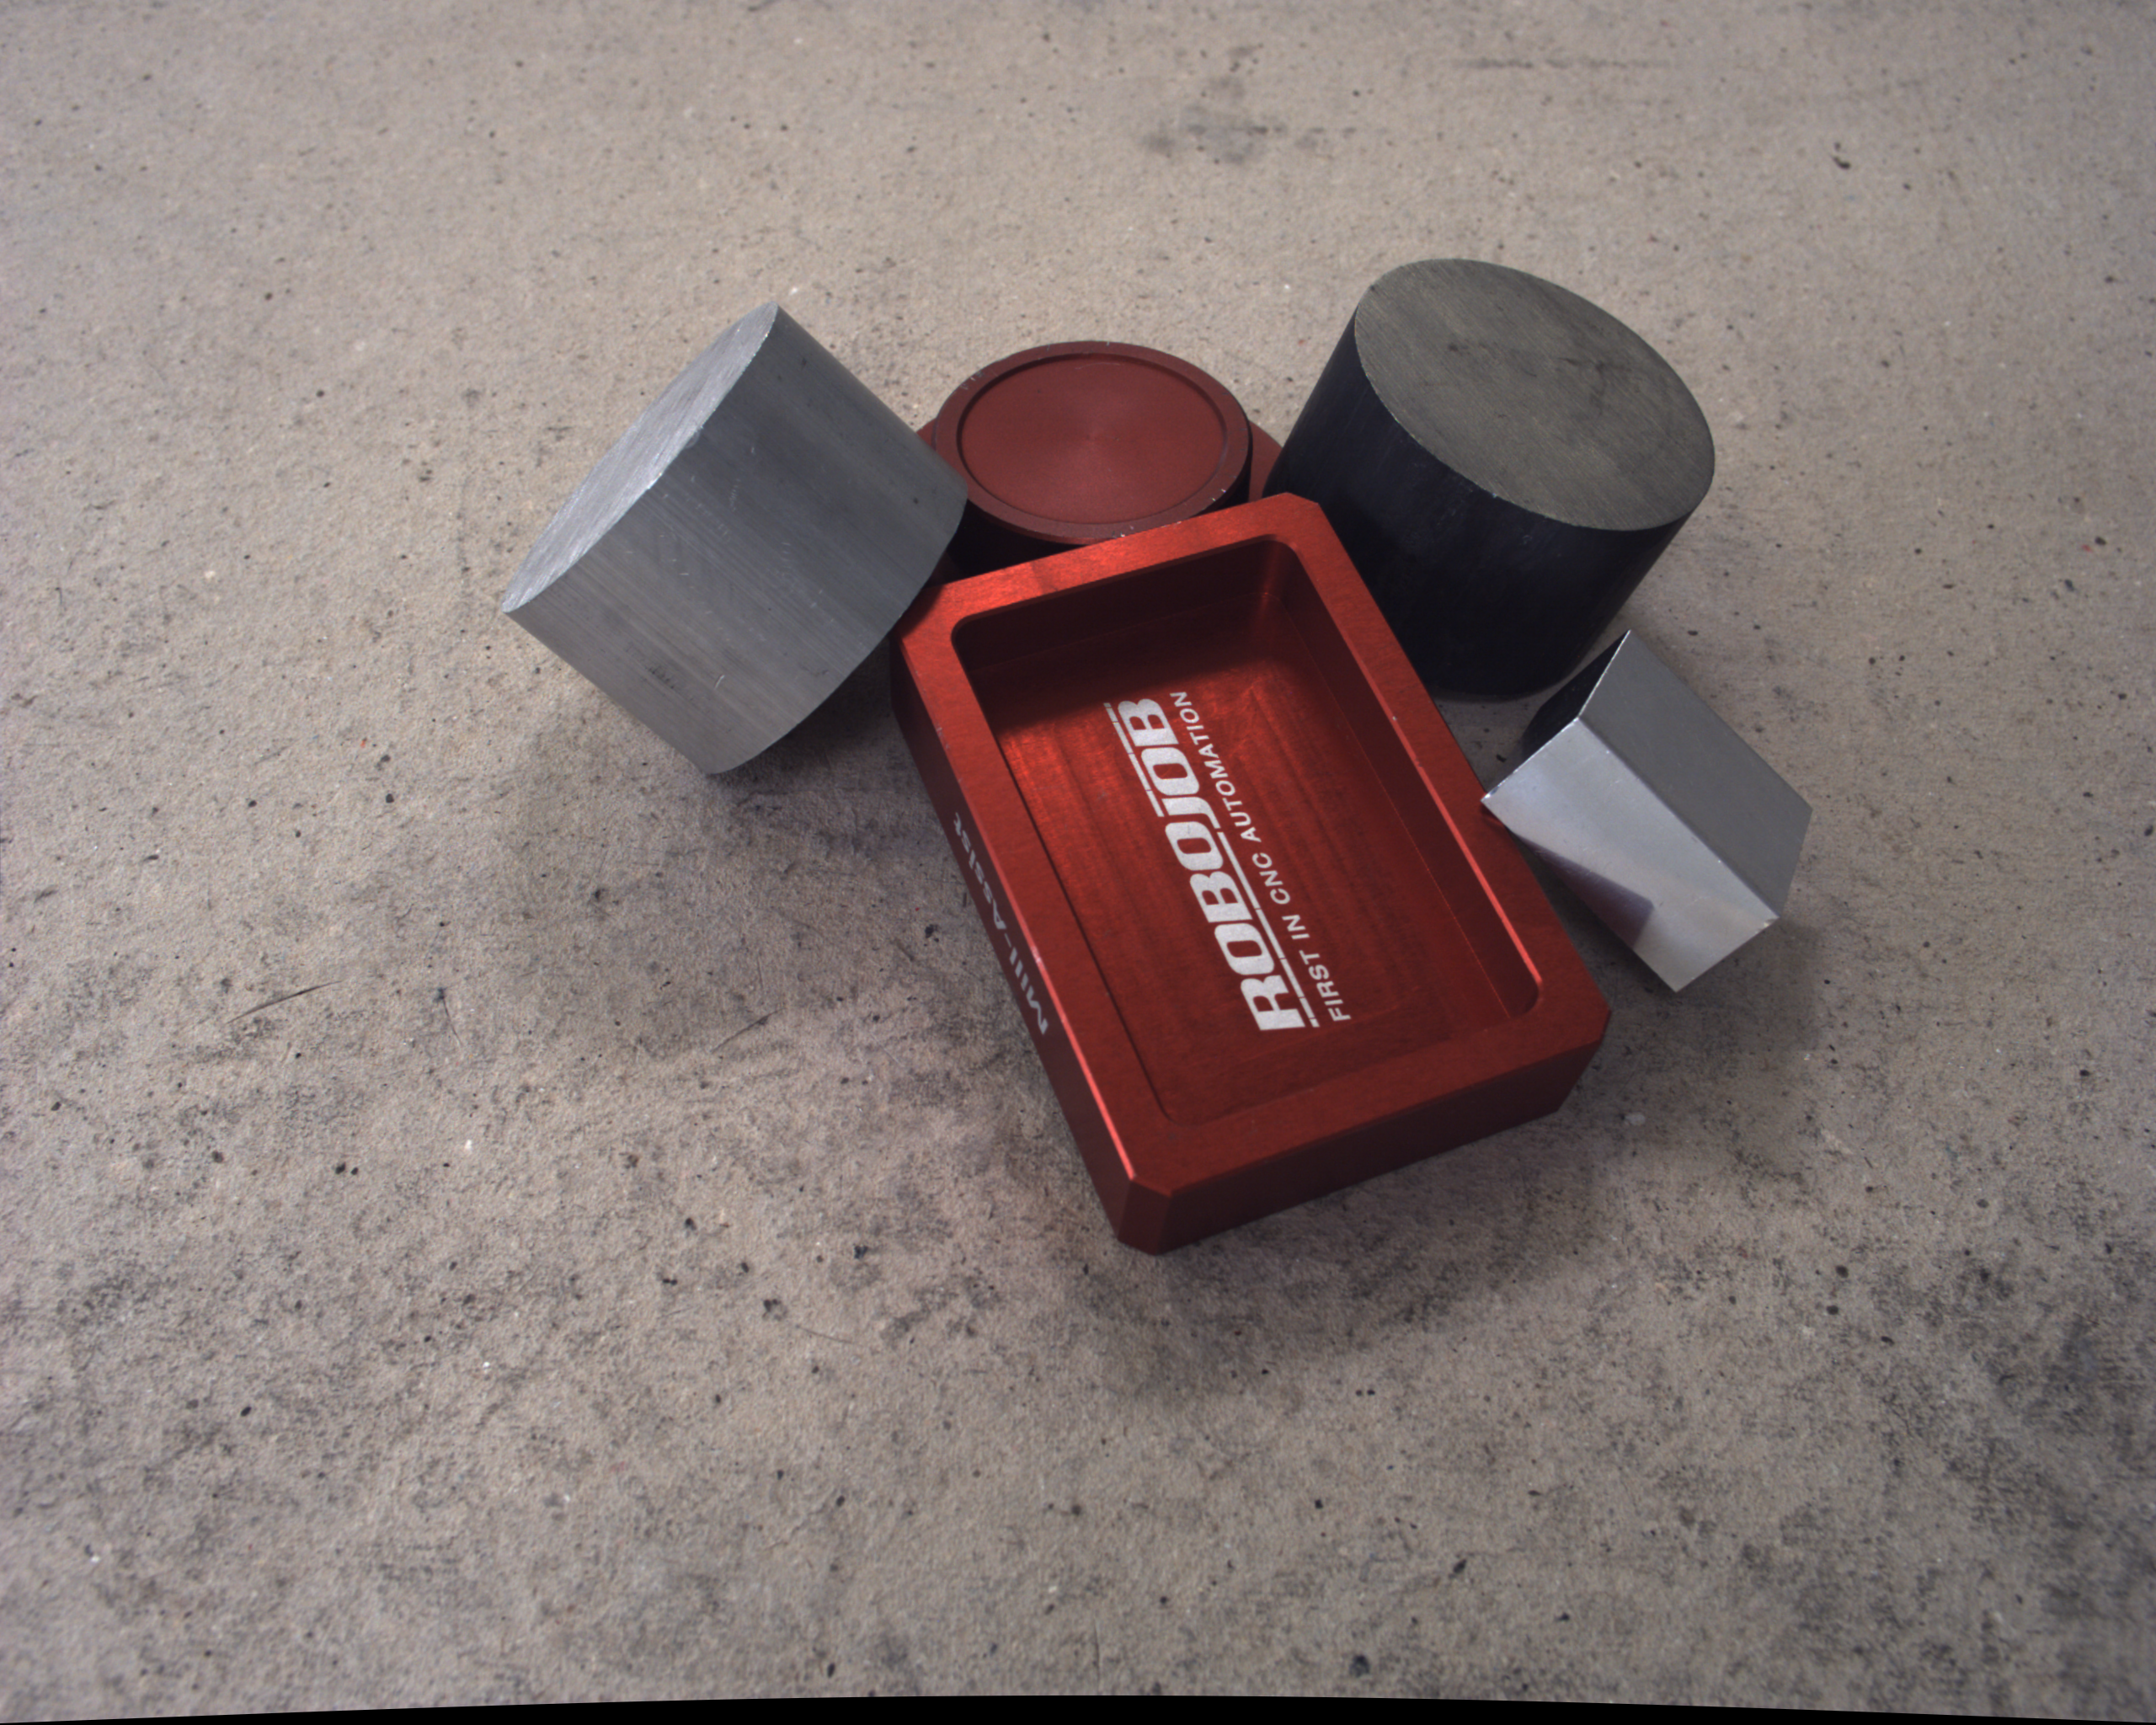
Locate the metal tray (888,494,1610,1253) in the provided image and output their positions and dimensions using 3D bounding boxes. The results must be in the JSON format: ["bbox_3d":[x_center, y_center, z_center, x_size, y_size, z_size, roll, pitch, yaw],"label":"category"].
[{"bbox_3d":[0.027,-0.003,0.390,0.091,0.030,0.130,-17,62,-14],"label":"metal tray"}]

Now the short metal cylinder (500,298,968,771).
[{"bbox_3d":[-0.068,-0.065,0.414,0.050,0.080,0.080,41,48,-24],"label":"short metal cylinder"}]

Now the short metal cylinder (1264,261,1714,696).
[{"bbox_3d":[0.086,-0.082,0.445,0.081,0.050,0.080,11,50,-14],"label":"short metal cylinder"}]

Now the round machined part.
[{"bbox_3d":[0.003,-0.078,0.460,0.099,0.042,0.098,0,50,0],"label":"round machined part"}]

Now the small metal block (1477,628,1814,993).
[{"bbox_3d":[0.108,-0.011,0.392,0.050,0.025,0.050,45,34,1],"label":"small metal block"}]
